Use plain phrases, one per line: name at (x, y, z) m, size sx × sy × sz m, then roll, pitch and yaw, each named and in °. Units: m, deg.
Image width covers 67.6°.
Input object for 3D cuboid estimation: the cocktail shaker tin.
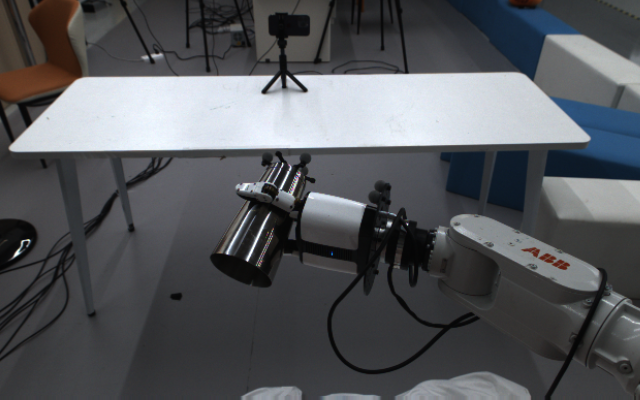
cocktail shaker tin at (-0.081, 0.029, 0.701) m, size 0.093 × 0.093 × 0.170 m, roll 13°, pitch 58°, yaw 16°
